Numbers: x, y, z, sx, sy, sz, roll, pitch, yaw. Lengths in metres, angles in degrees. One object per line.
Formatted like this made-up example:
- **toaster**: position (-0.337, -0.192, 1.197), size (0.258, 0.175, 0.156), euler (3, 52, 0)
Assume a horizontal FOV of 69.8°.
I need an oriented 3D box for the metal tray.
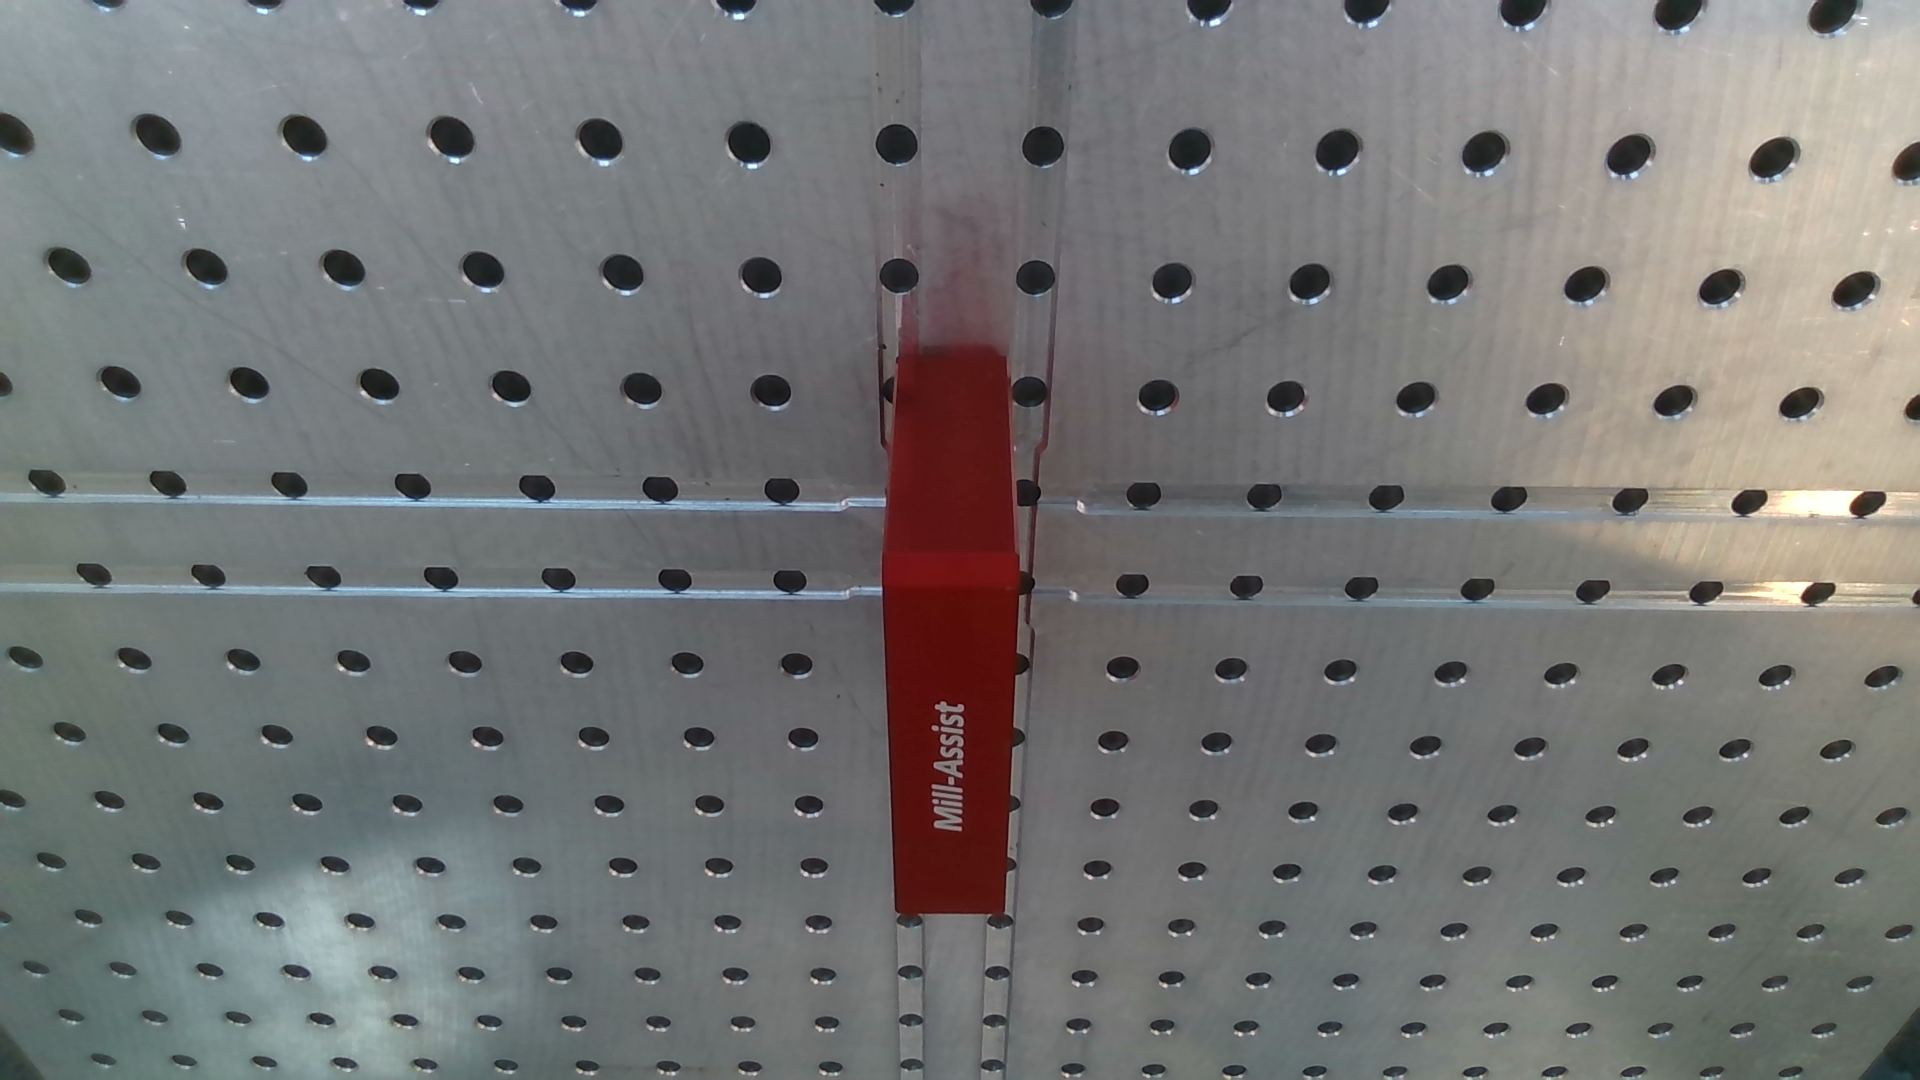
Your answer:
- **metal tray**: position (-0.003, 0.027, 0.371), size (0.030, 0.090, 0.130), euler (0, 130, 0)
